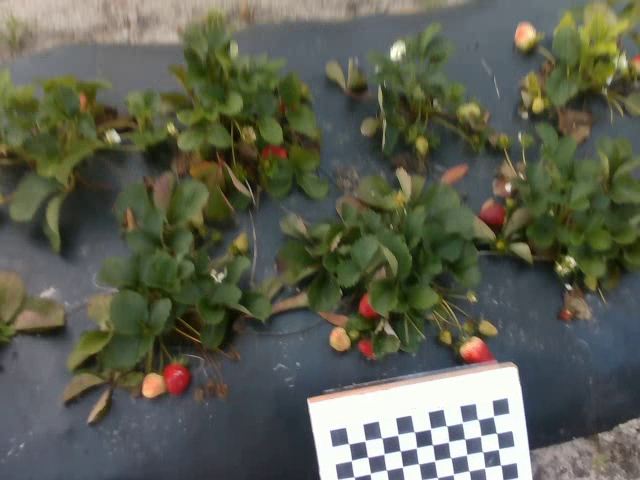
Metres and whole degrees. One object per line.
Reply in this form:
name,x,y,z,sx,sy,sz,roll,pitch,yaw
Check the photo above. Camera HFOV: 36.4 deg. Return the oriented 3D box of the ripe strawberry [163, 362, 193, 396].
ripe strawberry,-0.172,0.166,1.131,0.034,0.033,0.042,23,29,-14
